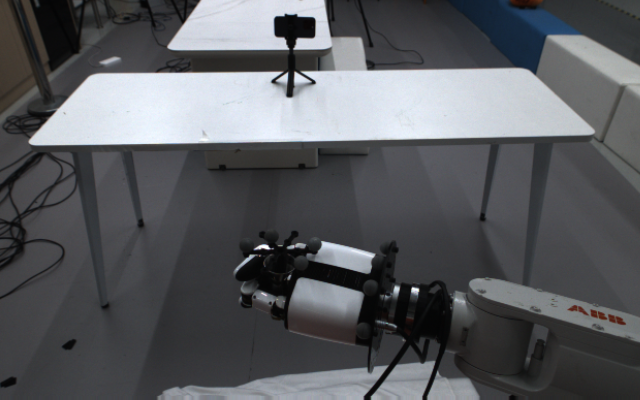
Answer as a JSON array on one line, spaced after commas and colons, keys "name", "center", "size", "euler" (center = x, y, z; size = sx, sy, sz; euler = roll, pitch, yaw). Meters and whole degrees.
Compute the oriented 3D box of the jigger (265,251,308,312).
[{"name": "jigger", "center": [-0.047, 0.103, 0.611], "size": [0.043, 0.071, 0.043], "euler": [4, 31, -2]}]
